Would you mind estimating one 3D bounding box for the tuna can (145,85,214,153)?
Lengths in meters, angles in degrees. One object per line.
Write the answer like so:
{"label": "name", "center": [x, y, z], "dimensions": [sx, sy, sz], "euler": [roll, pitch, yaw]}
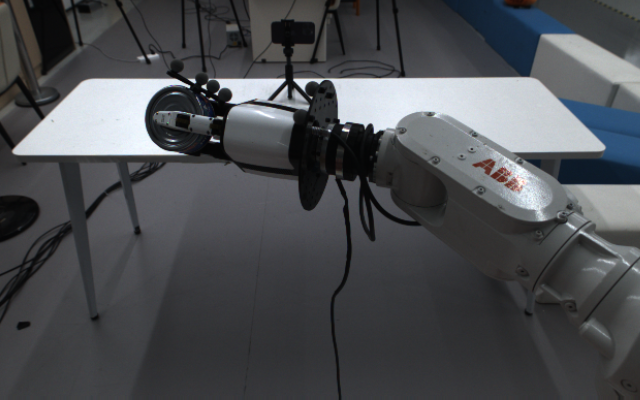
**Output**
{"label": "tuna can", "center": [-0.182, -0.104, 0.629], "dimensions": [0.085, 0.085, 0.034], "euler": [12, 4, 14]}
